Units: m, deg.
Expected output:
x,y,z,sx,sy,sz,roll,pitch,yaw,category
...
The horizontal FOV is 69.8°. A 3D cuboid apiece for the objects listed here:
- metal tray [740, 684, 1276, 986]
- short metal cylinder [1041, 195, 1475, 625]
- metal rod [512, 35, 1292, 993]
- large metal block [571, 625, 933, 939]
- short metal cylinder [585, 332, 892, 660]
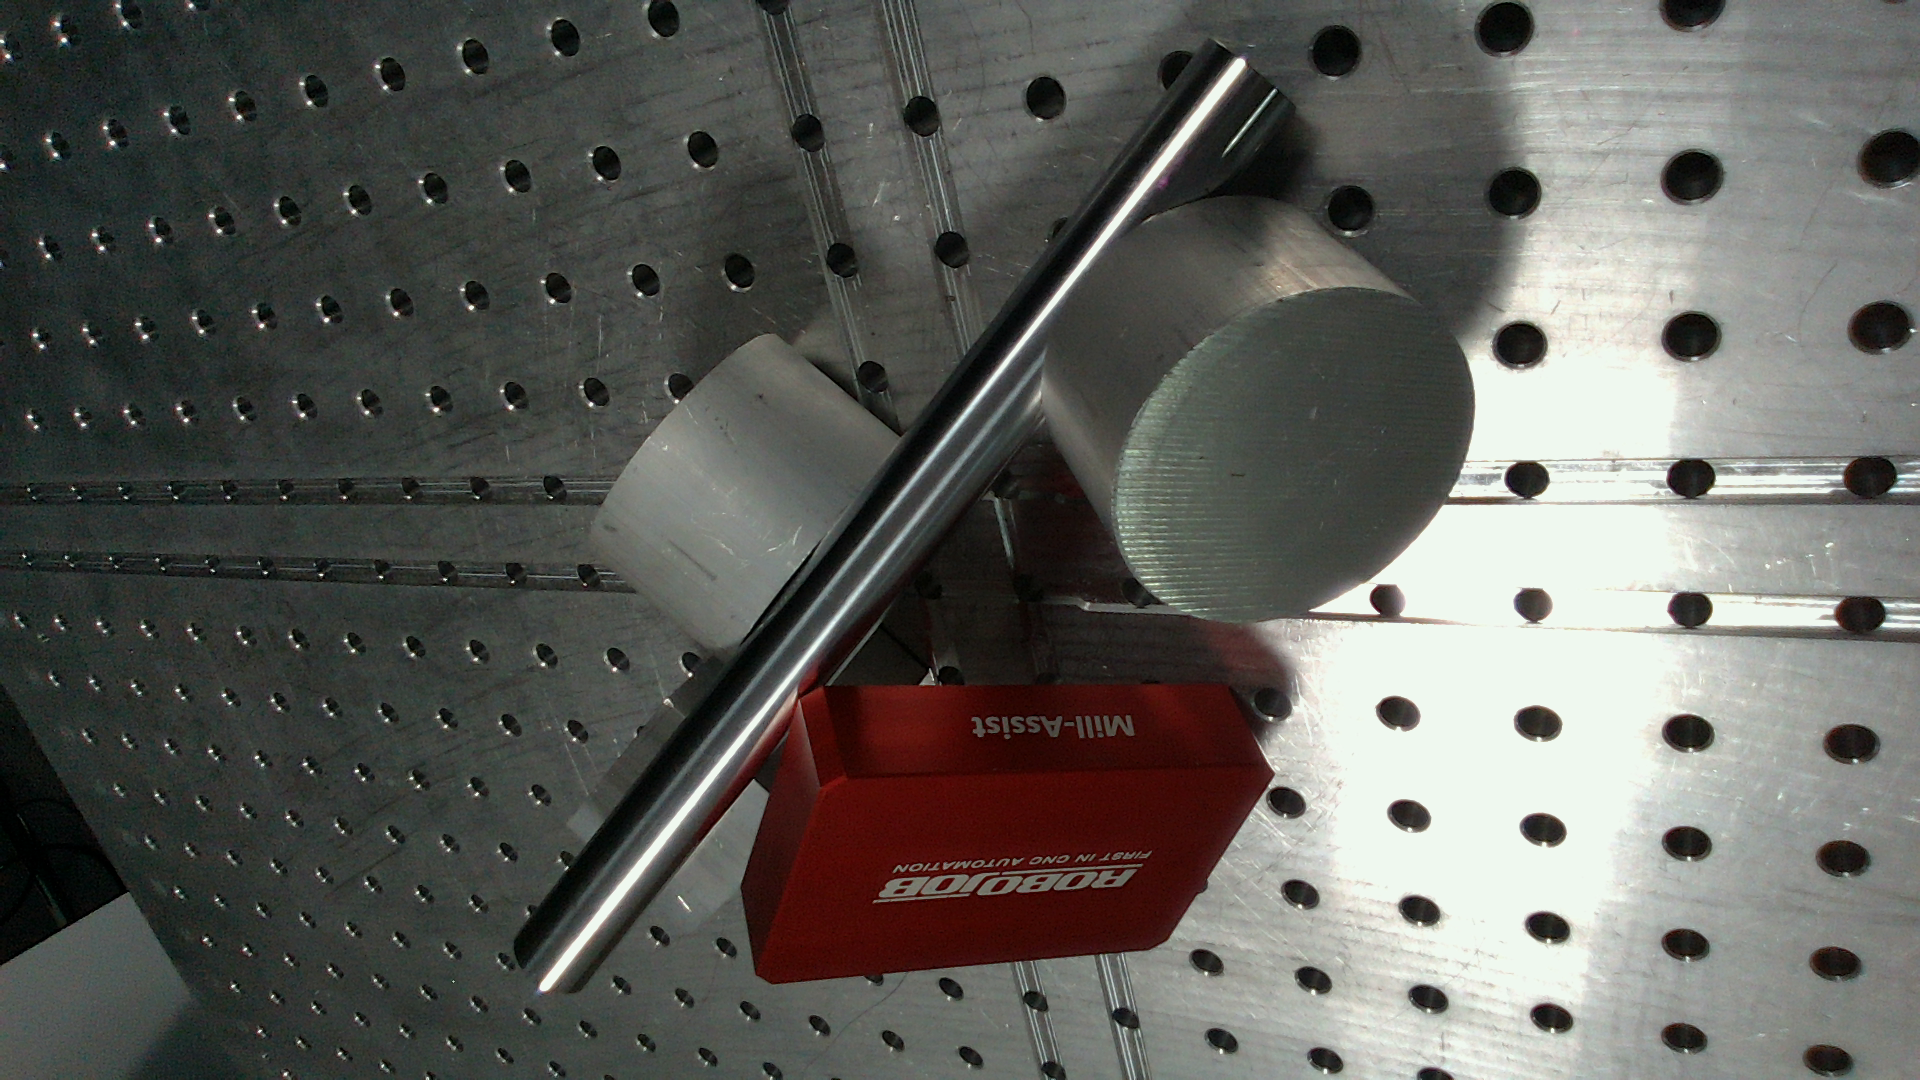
x,y,z,sx,sy,sz,roll,pitch,yaw,category
0.012,0.082,0.386,0.130,0.030,0.090,2,131,-23,metal tray
0.063,-0.028,0.303,0.080,0.050,0.080,-8,126,-12,short metal cylinder
-0.027,0.008,0.346,0.025,0.025,0.300,39,108,1,metal rod
-0.065,0.066,0.436,0.050,0.080,0.080,43,129,-1,large metal block
-0.058,-0.011,0.384,0.050,0.080,0.080,40,129,1,short metal cylinder
